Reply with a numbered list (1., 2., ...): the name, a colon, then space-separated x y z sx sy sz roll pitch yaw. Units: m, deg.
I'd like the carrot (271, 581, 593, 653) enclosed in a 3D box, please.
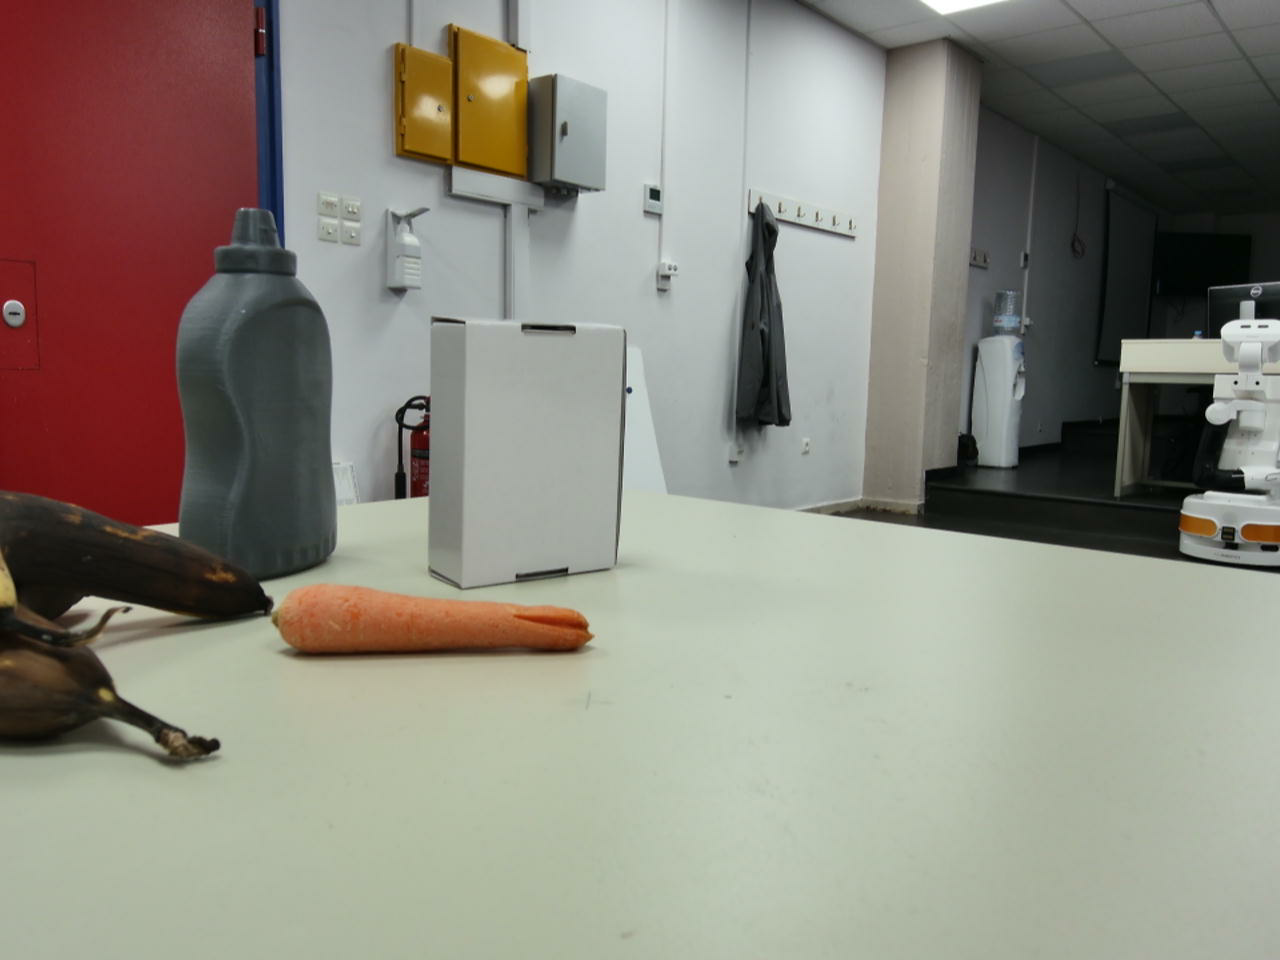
1. carrot: -0.089 0.059 0.434 0.136 0.032 0.030 0 4 -4
